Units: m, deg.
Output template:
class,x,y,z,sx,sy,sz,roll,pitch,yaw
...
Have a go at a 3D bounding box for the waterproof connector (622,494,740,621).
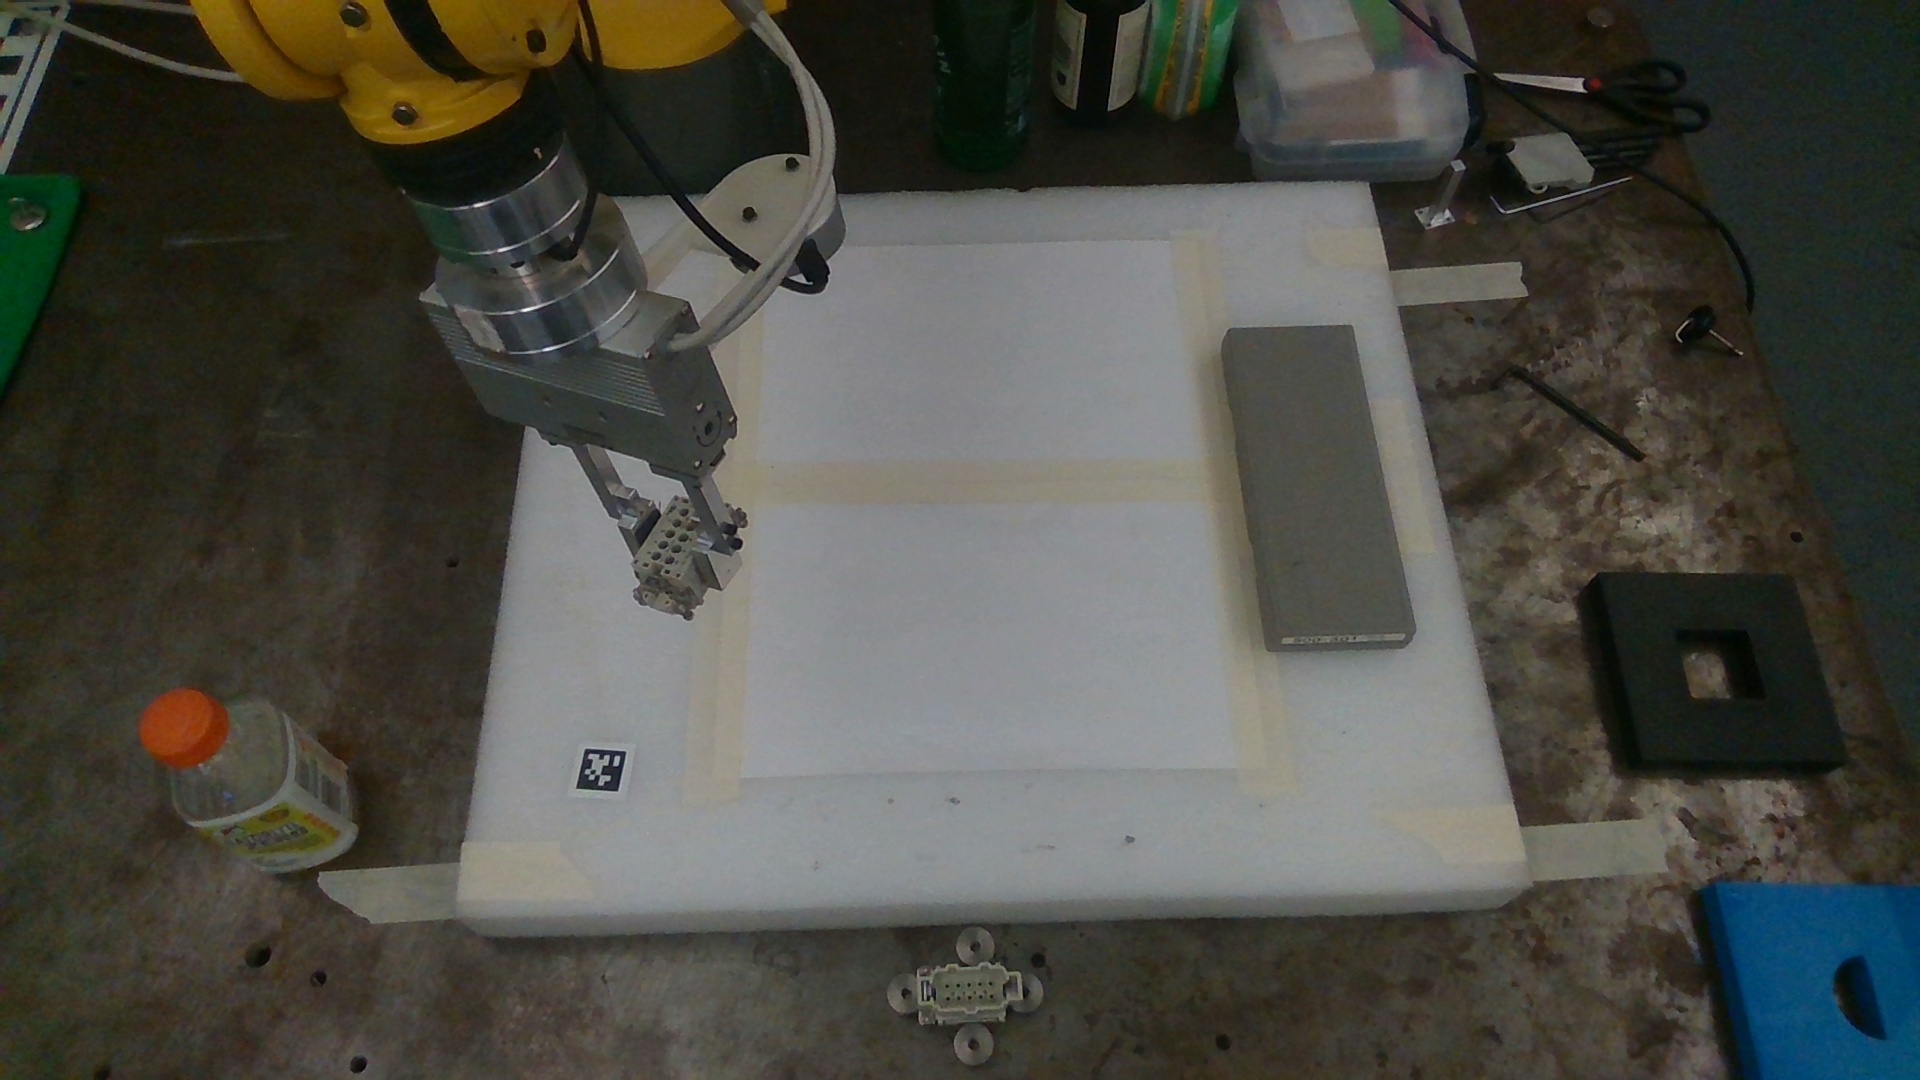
class,x,y,z,sx,sy,sz,roll,pitch,yaw
waterproof connector,-0.144,0.009,0.719,0.037,0.038,0.069,19,67,21
